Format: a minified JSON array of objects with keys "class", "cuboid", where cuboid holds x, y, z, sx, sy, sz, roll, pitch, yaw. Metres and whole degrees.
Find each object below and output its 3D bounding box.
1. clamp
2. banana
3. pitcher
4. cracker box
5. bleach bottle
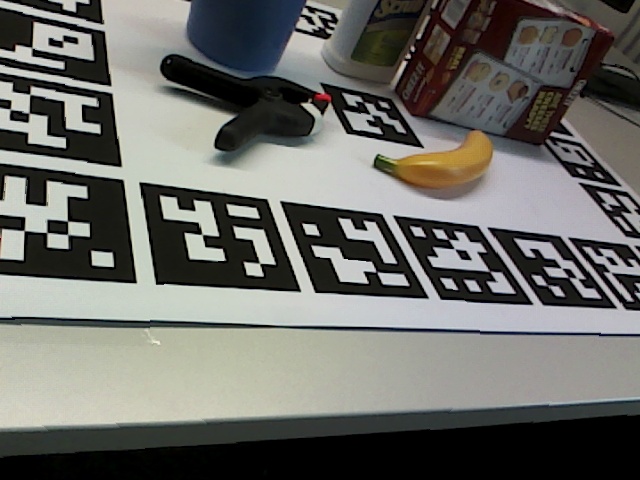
[{"class":"clamp","cuboid":[-0.054,-0.122,0.596,0.164,0.036,0.122,-8,46,-42]},{"class":"banana","cuboid":[0.143,-0.086,0.687,0.074,0.039,0.196,38,37,17]},{"class":"pitcher","cuboid":[-0.059,-0.303,0.608,0.187,0.243,0.134,-10,48,-44]},{"class":"cracker box","cuboid":[0.233,-0.223,0.772,0.212,0.164,0.072,4,38,-26]},{"class":"bleach bottle","cuboid":[0.085,-0.304,0.734,0.102,0.251,0.068,4,40,-28]}]
